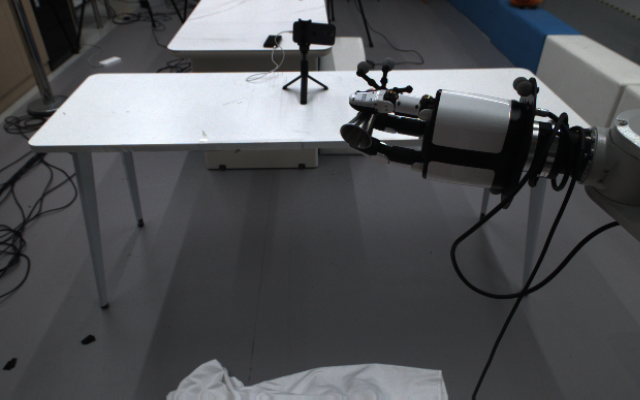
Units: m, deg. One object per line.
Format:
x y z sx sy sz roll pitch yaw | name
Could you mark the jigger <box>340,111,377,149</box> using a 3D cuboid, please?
0.060 -0.110 0.622 0.043 0.043 0.071 19 61 23 | jigger
